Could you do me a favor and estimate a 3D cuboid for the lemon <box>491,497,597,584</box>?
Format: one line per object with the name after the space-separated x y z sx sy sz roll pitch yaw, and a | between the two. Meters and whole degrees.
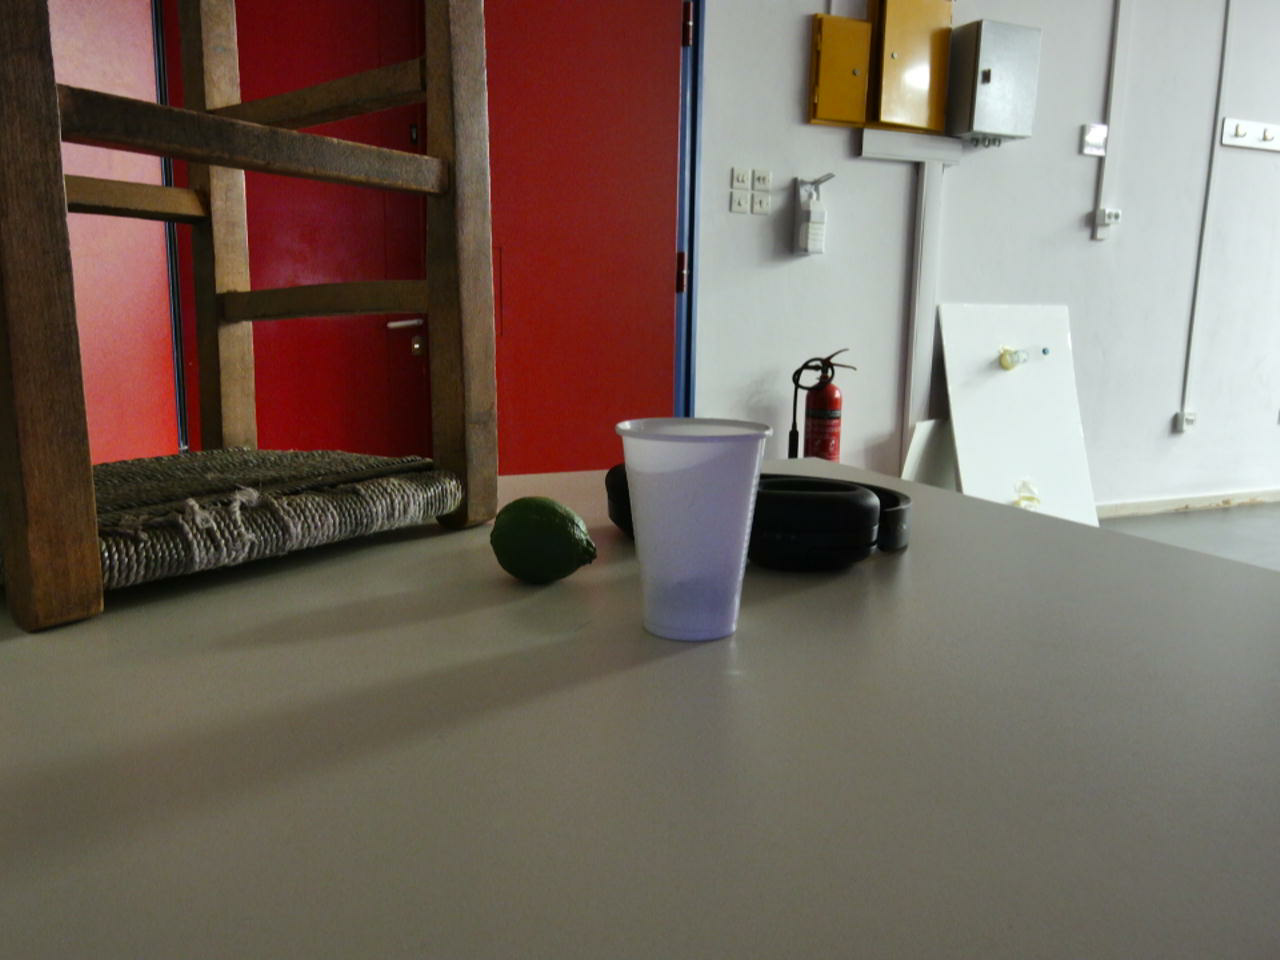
-0.060 0.035 0.595 0.057 0.051 0.054 -4 9 -28 | lemon
